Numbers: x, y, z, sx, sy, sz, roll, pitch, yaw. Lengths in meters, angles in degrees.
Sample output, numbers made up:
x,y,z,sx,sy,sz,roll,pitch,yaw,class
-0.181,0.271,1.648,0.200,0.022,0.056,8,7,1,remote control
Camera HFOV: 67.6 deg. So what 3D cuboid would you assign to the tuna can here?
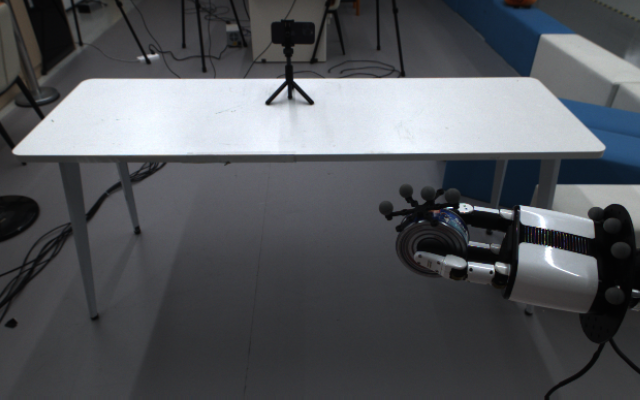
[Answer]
x,y,z,sx,sy,sz,roll,pitch,yaw,class
0.138,0.049,0.587,0.085,0.085,0.034,11,34,13,tuna can
